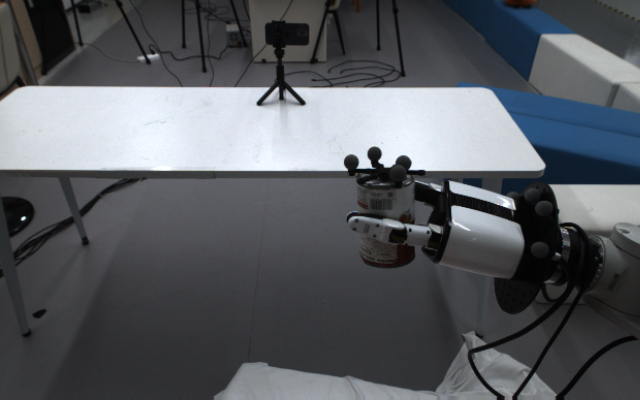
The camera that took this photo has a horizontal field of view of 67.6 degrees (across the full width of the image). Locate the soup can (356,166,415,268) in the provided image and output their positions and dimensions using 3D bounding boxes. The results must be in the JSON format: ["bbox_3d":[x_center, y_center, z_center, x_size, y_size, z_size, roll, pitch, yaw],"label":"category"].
[{"bbox_3d":[0.080,0.018,0.570,0.067,0.101,0.067,-4,21,1],"label":"soup can"}]
